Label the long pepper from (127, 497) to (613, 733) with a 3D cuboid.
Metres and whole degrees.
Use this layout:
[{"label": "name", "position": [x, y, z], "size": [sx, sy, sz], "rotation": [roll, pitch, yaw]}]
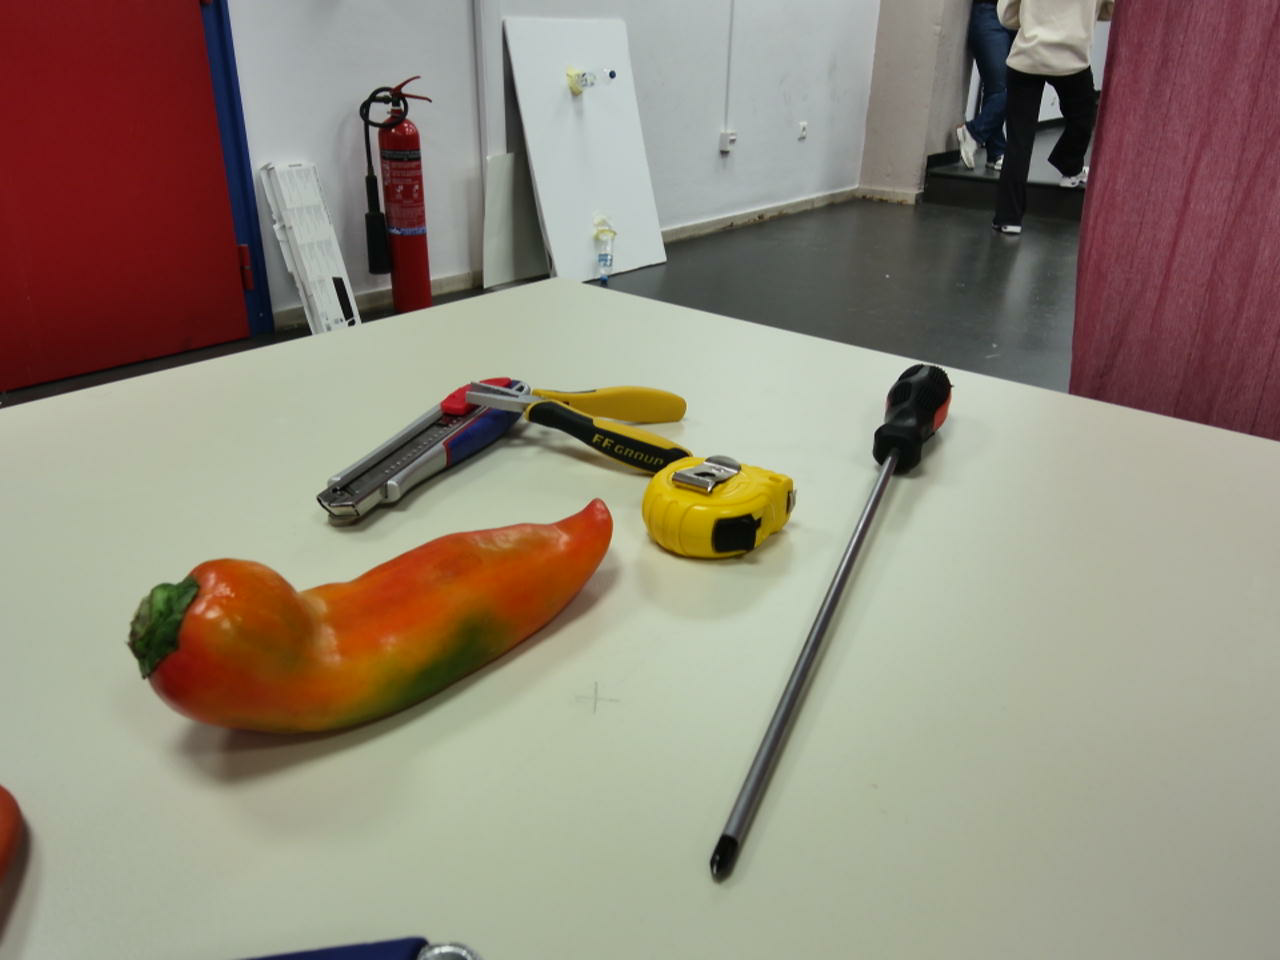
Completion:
[{"label": "long pepper", "position": [-0.081, 0.036, 0.369], "size": [0.066, 0.065, 0.199], "rotation": [20, 30, 40]}]
